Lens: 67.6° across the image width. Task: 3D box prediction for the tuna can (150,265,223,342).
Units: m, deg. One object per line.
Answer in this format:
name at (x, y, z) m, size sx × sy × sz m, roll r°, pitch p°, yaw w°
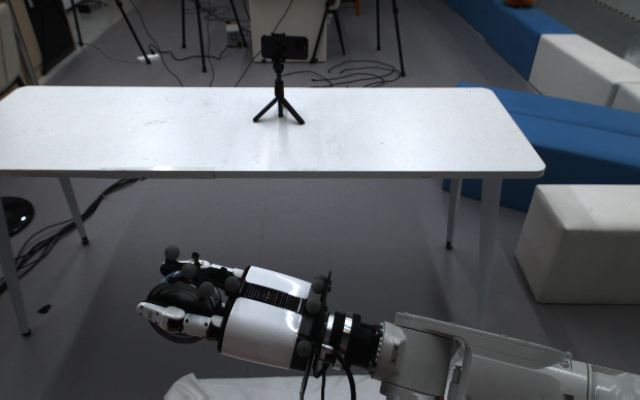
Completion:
tuna can at (-0.162, 0.130, 0.591) m, size 0.085 × 0.085 × 0.034 m, roll 7°, pitch 17°, yaw 7°
